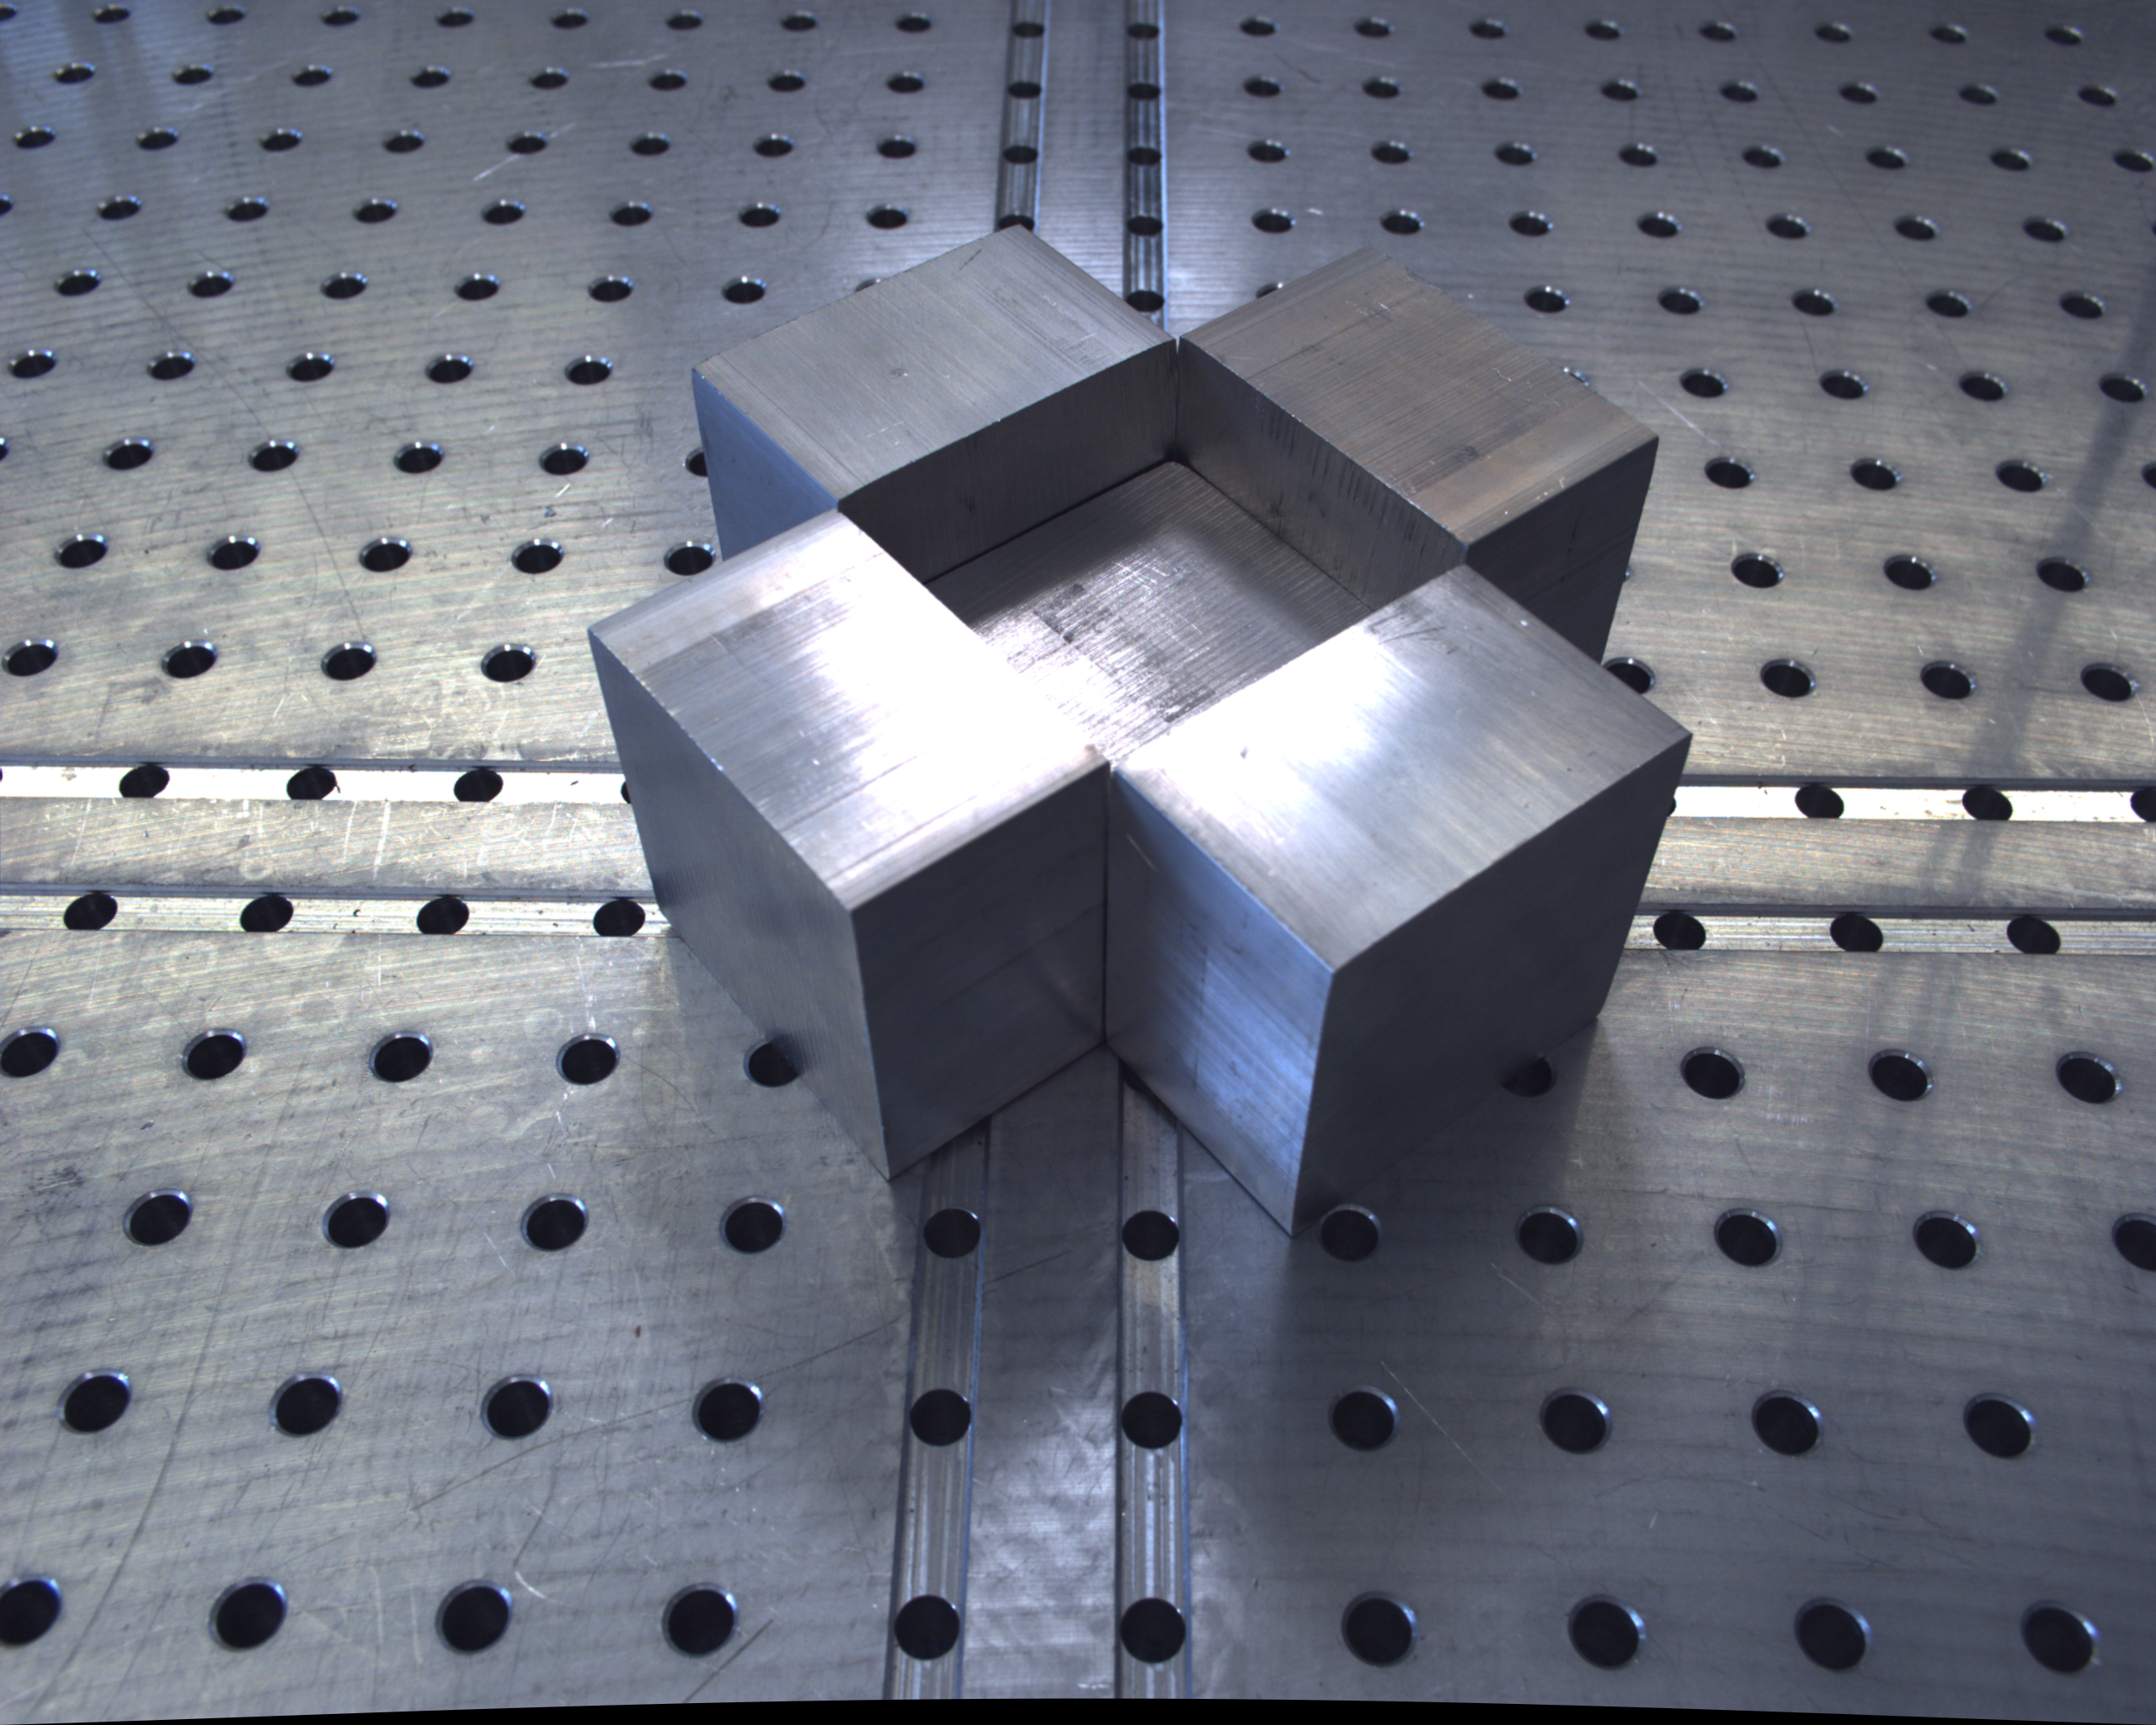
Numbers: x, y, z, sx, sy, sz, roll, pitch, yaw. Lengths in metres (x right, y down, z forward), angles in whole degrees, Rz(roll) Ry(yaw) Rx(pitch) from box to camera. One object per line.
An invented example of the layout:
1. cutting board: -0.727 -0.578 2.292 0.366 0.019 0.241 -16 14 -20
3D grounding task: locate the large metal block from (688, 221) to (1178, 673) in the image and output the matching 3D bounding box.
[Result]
1. large metal block: -0.027 -0.073 0.434 0.080 0.080 0.050 -31 57 -24

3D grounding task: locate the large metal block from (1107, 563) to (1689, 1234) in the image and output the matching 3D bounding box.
1. large metal block: 0.053 0.007 0.368 0.080 0.080 0.050 -30 56 -23

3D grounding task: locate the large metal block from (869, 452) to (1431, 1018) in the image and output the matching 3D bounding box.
1. large metal block: 0.014 -0.025 0.411 0.080 0.050 0.080 -32 56 -22

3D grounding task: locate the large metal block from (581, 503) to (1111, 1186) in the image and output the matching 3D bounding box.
1. large metal block: -0.039 -0.003 0.374 0.050 0.080 0.080 -32 57 -24

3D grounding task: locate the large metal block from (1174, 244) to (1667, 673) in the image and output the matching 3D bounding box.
1. large metal block: 0.064 -0.065 0.428 0.050 0.080 0.080 -31 57 -24
